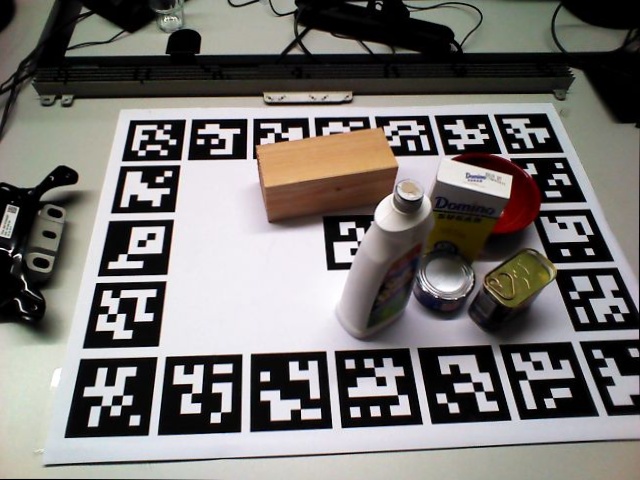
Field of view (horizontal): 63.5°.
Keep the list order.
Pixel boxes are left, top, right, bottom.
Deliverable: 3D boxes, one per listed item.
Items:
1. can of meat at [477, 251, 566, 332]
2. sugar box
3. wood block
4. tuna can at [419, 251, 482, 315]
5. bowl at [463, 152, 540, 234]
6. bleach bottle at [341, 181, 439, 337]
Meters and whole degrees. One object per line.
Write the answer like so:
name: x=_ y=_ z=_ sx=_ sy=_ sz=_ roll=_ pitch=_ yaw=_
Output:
can of meat: x=0.266 y=0.068 z=0.697 sx=0.101 sy=0.084 sz=0.058 roll=-27 pitch=57 yaw=-21
sugar box: x=0.200 y=-0.031 z=0.701 sx=0.093 sy=0.177 sz=0.045 roll=14 pitch=58 yaw=13
wood block: x=0.013 y=-0.102 z=0.807 sx=0.206 sy=0.090 sz=0.090 roll=-9 pitch=60 yaw=-8
tuna can: x=0.179 y=0.060 z=0.723 sx=0.086 sy=0.034 sz=0.085 roll=0 pitch=58 yaw=0
bowl: x=0.274 y=-0.064 z=0.803 sx=0.162 sy=0.055 sz=0.160 roll=-2 pitch=55 yaw=2
bleach bottle: x=0.083 y=0.022 z=0.620 sx=0.102 sy=0.252 sz=0.068 roll=-24 pitch=58 yaw=-17
